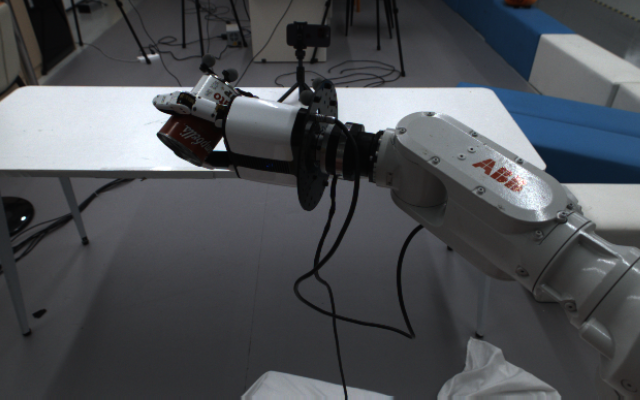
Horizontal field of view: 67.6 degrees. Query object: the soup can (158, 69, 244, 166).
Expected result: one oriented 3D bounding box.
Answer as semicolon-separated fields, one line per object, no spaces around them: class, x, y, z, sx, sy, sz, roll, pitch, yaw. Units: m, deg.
soup can;-0.151;-0.103;0.622;0.067;0.067;0.101;25;73;29
